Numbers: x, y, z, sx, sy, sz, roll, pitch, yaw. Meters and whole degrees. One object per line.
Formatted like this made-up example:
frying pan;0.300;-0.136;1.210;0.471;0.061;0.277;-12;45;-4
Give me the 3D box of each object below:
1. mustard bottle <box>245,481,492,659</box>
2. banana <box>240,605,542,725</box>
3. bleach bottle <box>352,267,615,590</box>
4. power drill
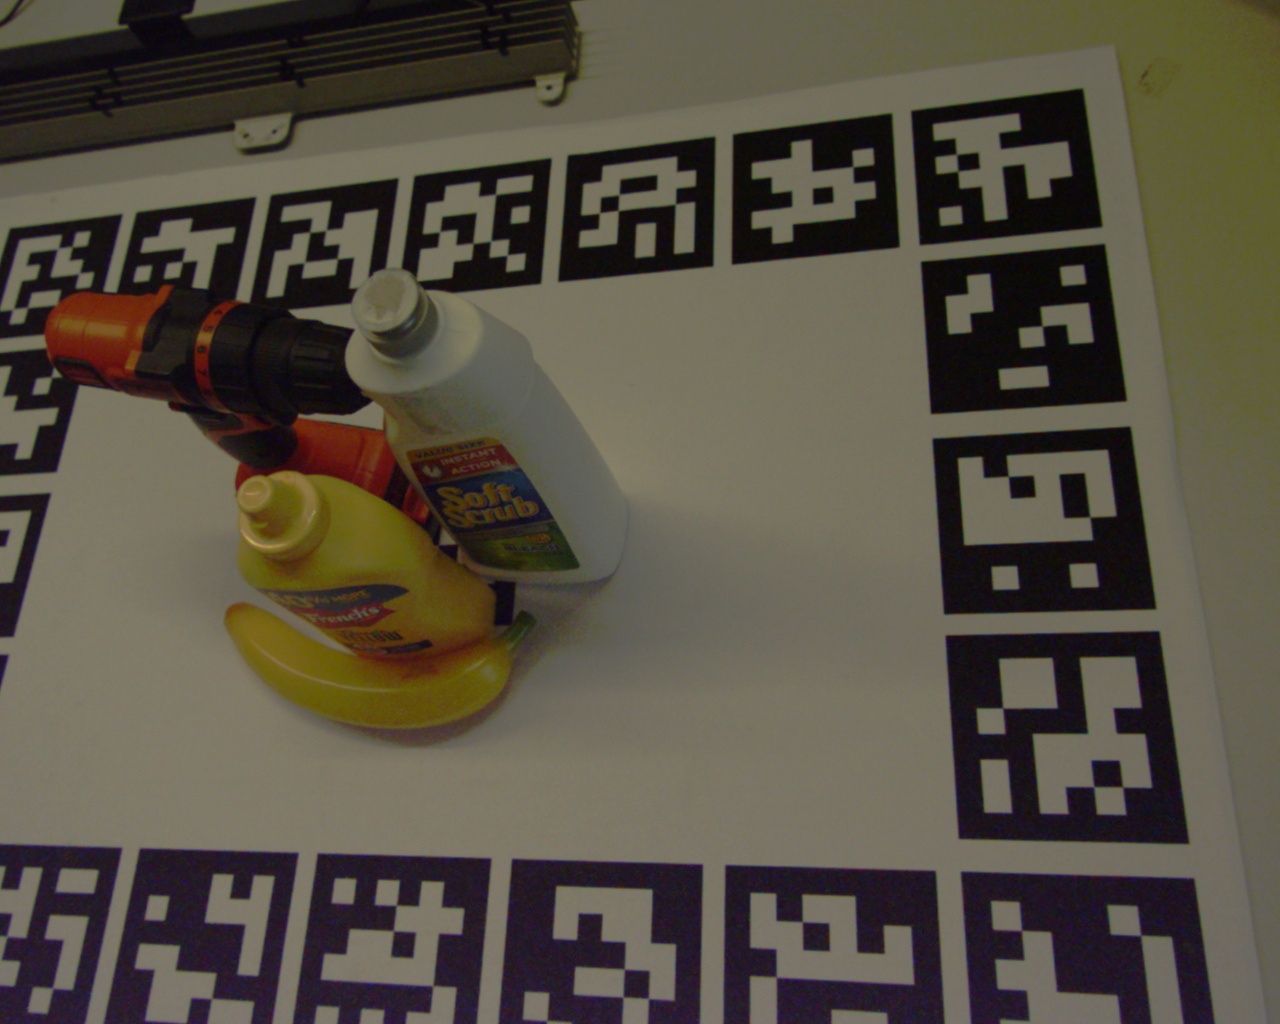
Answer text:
mustard bottle;-0.153;0.029;0.607;0.097;0.190;0.058;-2;69;12
banana;-0.155;0.088;0.678;0.199;0.038;0.074;1;71;18
bleach bottle;-0.087;-0.037;0.589;0.103;0.248;0.068;0;64;14
power drill;-0.194;-0.042;0.624;0.186;0.185;0.057;10;71;16
